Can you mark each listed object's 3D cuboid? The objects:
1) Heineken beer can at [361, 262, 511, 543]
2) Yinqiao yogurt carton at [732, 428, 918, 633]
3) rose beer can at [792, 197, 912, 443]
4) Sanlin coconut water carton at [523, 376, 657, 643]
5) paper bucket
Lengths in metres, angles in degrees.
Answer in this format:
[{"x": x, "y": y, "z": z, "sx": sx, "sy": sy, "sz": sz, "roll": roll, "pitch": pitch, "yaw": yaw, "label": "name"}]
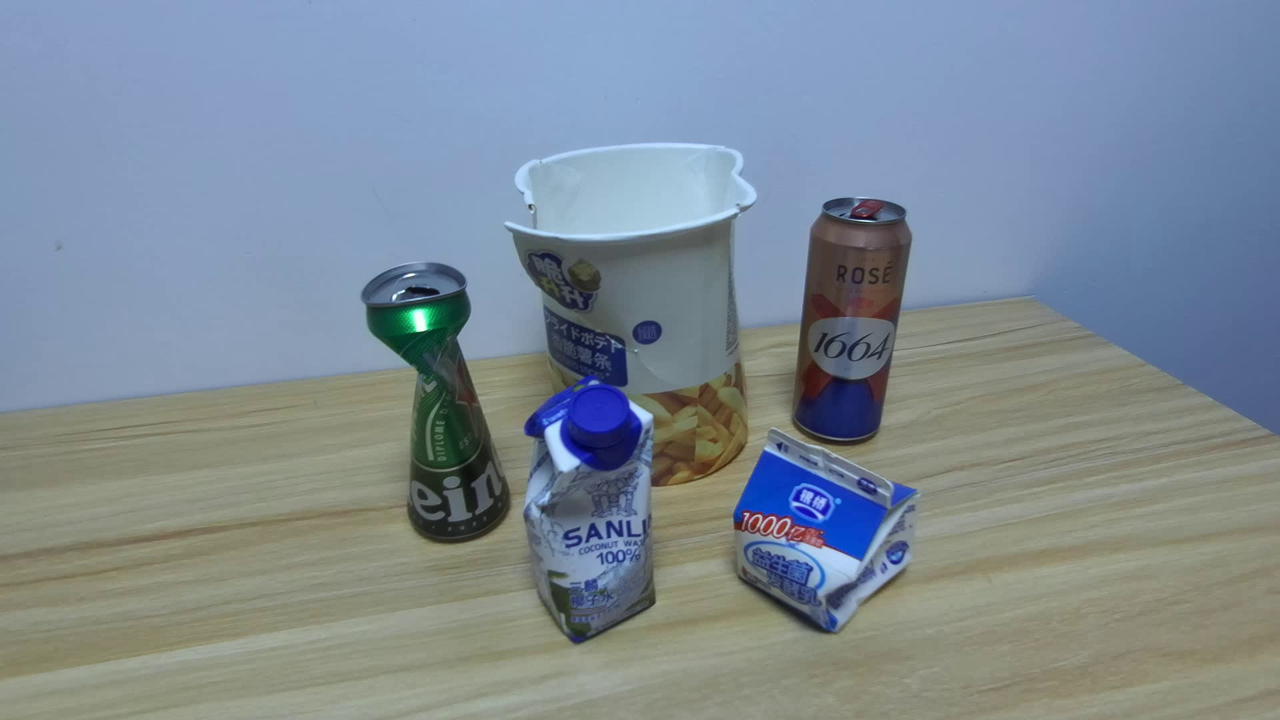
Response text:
[{"x": -0.119, "y": 0.027, "z": 0.427, "sx": 0.066, "sy": 0.164, "sz": 0.078, "roll": 9, "pitch": 32, "yaw": 20, "label": "Heineken beer can"}, {"x": 0.098, "y": 0.085, "z": 0.377, "sx": 0.074, "sy": 0.097, "sz": 0.080, "roll": 22, "pitch": 43, "yaw": 36, "label": "Yinqiao yogurt carton"}, {"x": 0.149, "y": -0.025, "z": 0.503, "sx": 0.068, "sy": 0.169, "sz": 0.068, "roll": 0, "pitch": 29, "yaw": 0, "label": "rose beer can"}, {"x": -0.028, "y": 0.072, "z": 0.361, "sx": 0.061, "sy": 0.144, "sz": 0.069, "roll": -18, "pitch": 33, "yaw": -26, "label": "Sanlin coconut water carton"}, {"x": 0.004, "y": -0.032, "z": 0.491, "sx": 0.146, "sy": 0.197, "sz": 0.202, "roll": -4, "pitch": 28, "yaw": -1, "label": "paper bucket"}]
